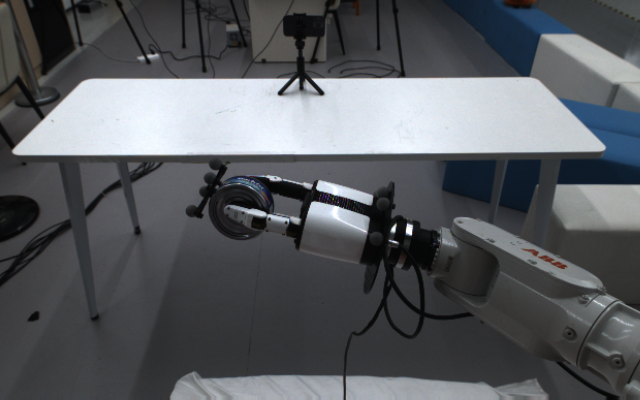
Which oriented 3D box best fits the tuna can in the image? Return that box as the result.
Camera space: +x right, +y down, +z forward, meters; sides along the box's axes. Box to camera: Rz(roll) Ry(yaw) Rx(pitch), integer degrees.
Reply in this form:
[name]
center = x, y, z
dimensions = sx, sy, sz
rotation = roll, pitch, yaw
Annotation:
[tuna can]
center = -0.105, 0.015, 0.664
dimensions = 0.085, 0.085, 0.034
rotation = 3, 22, 2
